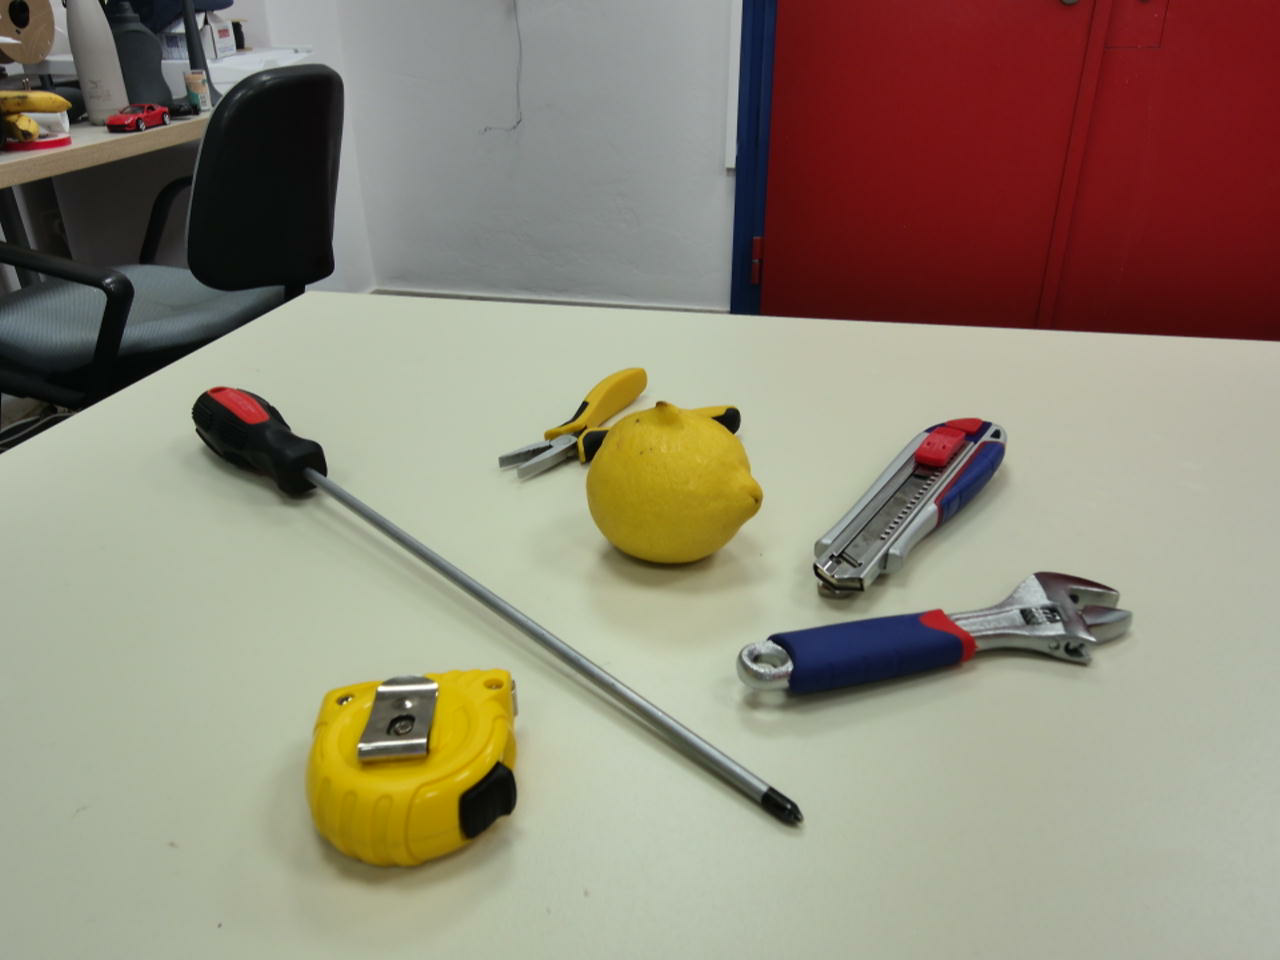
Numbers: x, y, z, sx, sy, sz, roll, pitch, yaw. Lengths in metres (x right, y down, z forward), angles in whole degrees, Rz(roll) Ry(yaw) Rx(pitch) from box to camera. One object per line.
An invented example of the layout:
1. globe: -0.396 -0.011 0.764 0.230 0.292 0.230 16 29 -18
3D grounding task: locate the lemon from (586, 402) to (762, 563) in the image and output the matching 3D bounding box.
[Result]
1. lemon: 0.012 -0.001 0.432 0.070 0.071 0.071 -9 26 -19
